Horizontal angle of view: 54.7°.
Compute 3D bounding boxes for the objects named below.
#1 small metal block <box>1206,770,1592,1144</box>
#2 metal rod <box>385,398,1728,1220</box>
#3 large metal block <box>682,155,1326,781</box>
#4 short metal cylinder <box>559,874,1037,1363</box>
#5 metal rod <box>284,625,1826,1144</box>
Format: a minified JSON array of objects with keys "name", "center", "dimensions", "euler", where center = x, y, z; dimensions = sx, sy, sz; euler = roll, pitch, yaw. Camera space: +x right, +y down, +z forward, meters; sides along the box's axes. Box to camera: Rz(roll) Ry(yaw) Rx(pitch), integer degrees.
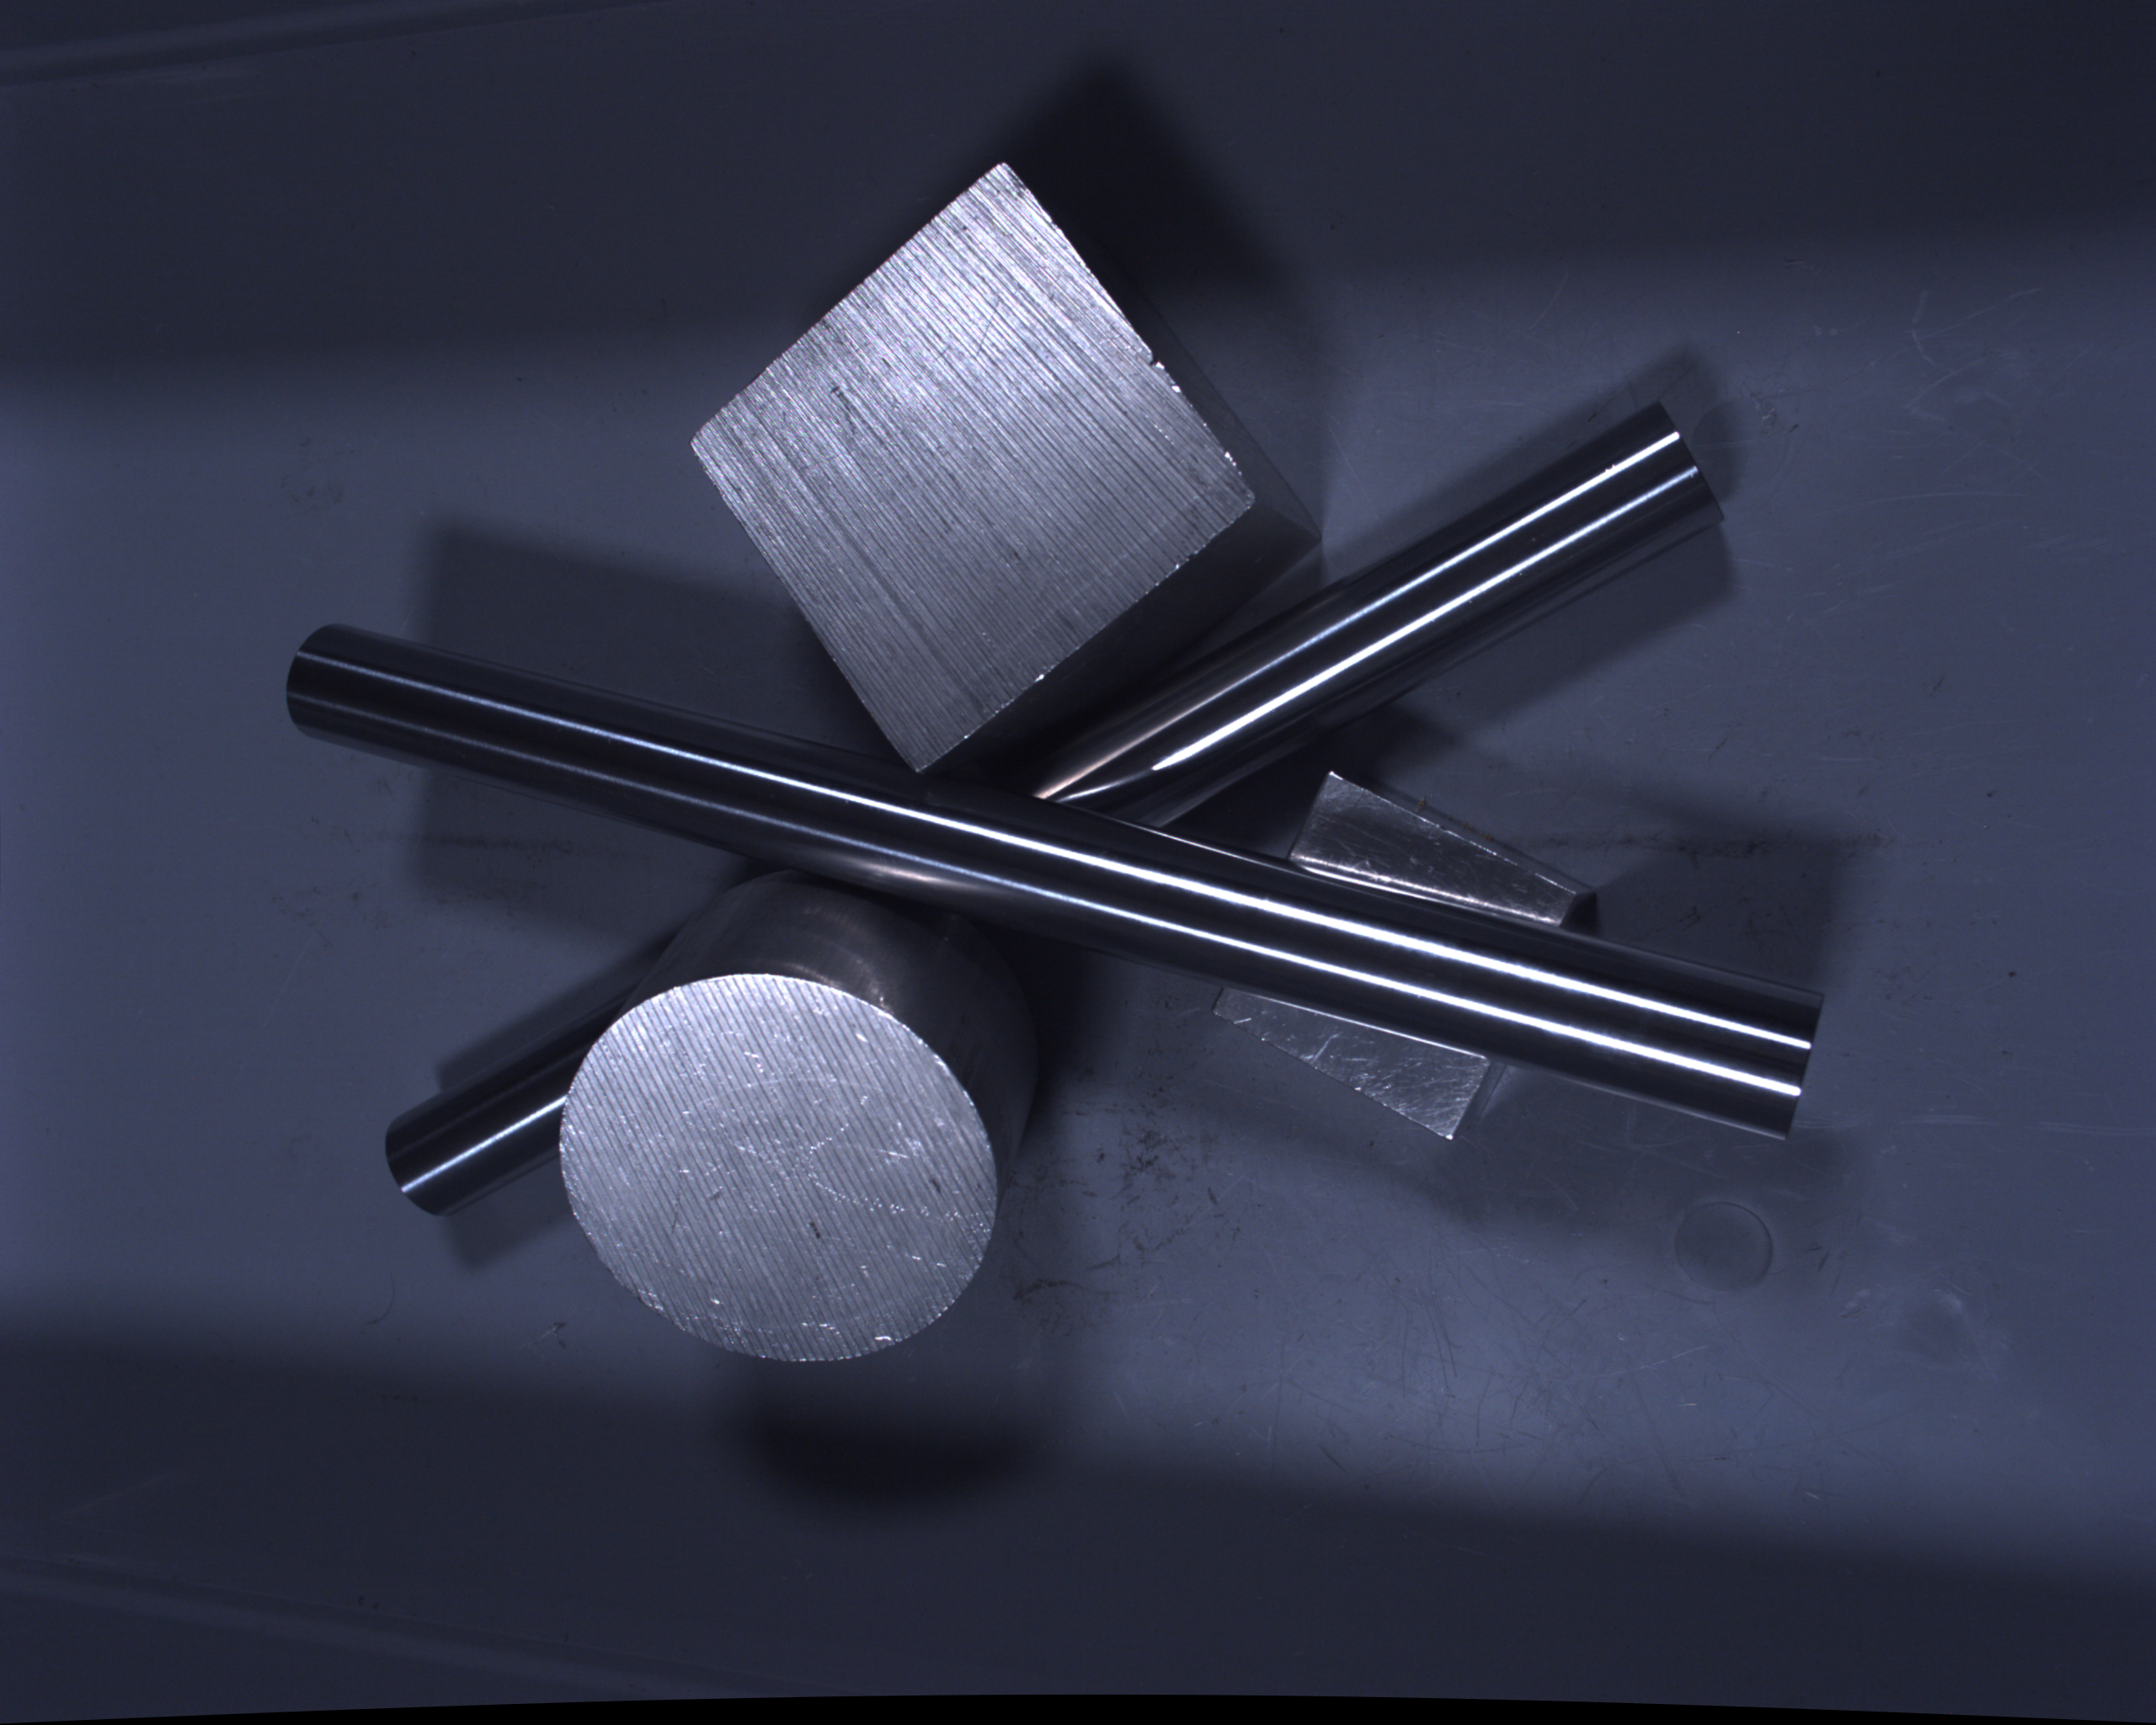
[{"name":"small metal block","center":[0.060,0.016,0.385],"dimensions":[0.050,0.025,0.050],"euler":[28,99,17]},{"name":"metal rod","center":[-0.017,-0.002,0.413],"dimensions":[0.300,0.025,0.025],"euler":[-29,81,17]},{"name":"large metal block","center":[-0.013,-0.071,0.399],"dimensions":[0.080,0.050,0.080],"euler":[-37,78,16]},{"name":"short metal cylinder","center":[-0.051,0.047,0.398],"dimensions":[0.080,0.050,0.079],"euler":[2,112,6]},{"name":"metal rod","center":[-0.019,-0.002,0.388],"dimensions":[0.301,0.025,0.025],"euler":[15,95,19]}]
